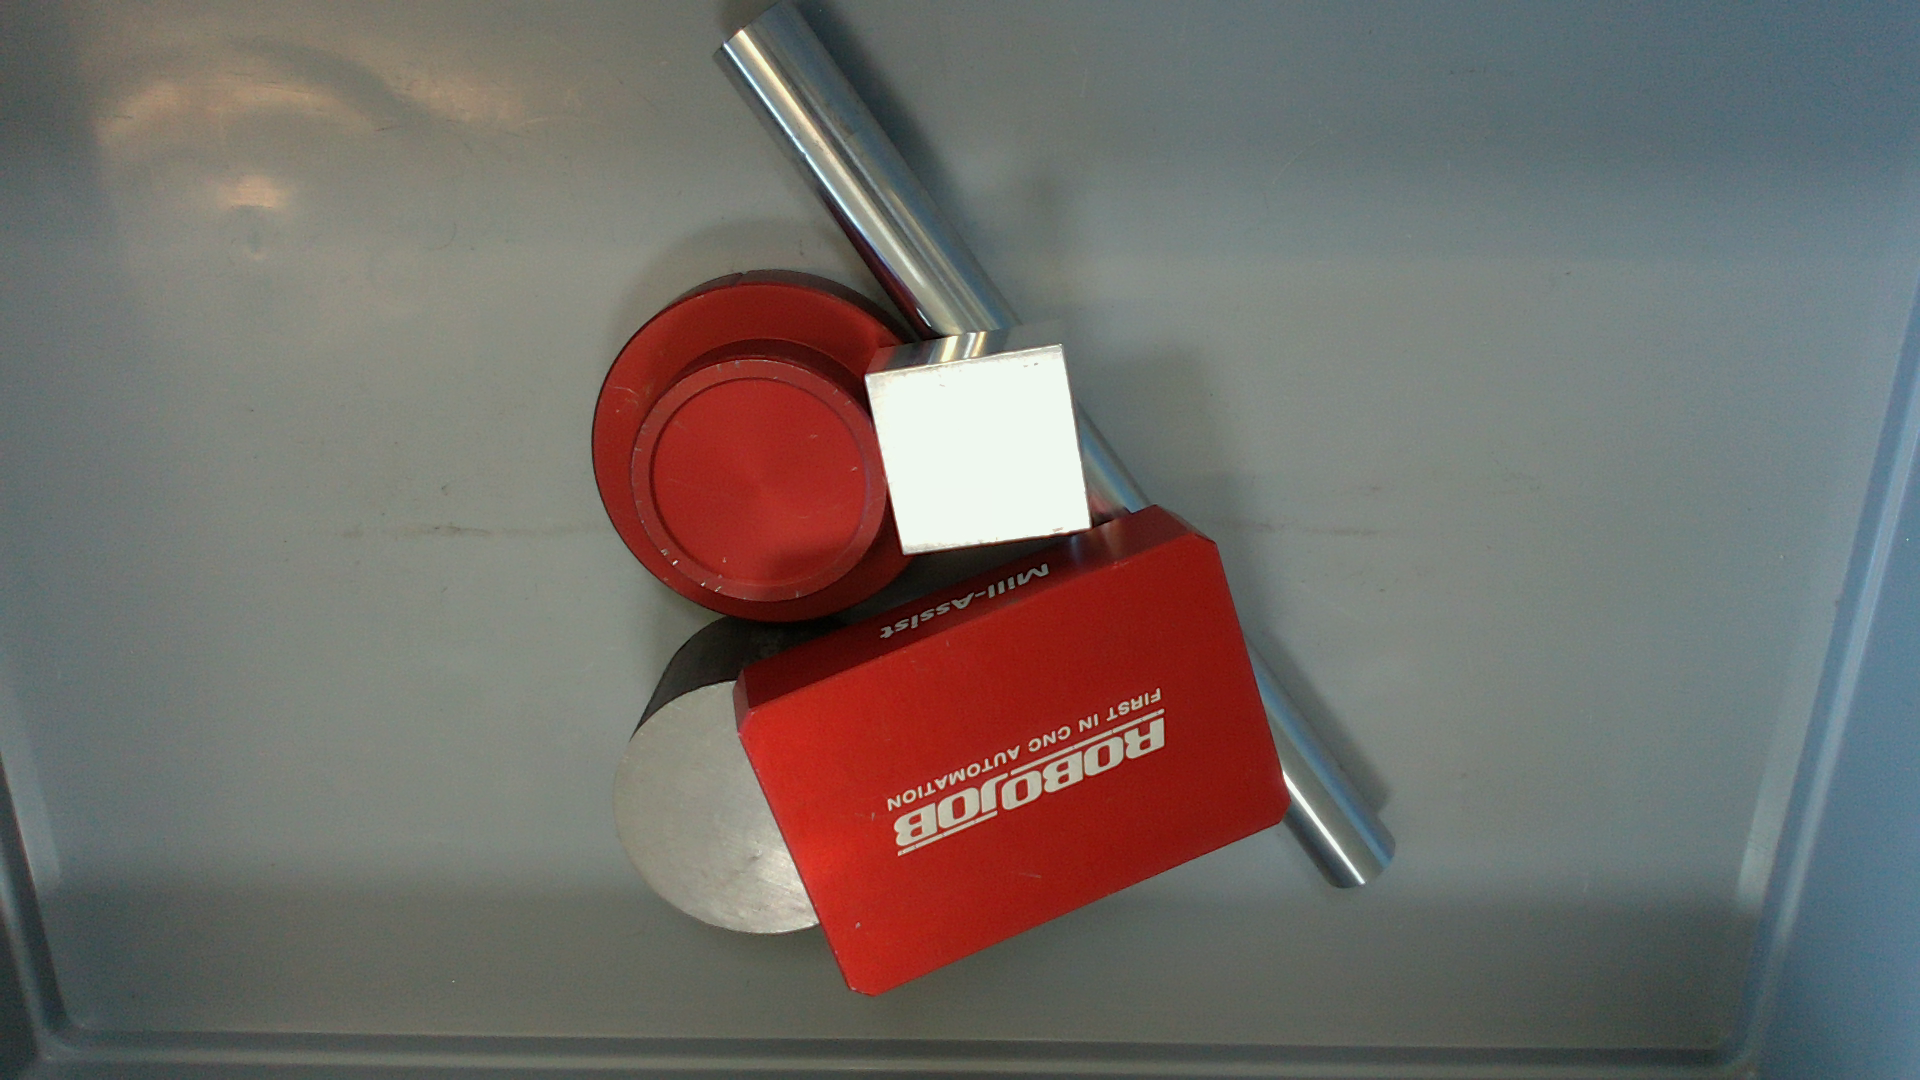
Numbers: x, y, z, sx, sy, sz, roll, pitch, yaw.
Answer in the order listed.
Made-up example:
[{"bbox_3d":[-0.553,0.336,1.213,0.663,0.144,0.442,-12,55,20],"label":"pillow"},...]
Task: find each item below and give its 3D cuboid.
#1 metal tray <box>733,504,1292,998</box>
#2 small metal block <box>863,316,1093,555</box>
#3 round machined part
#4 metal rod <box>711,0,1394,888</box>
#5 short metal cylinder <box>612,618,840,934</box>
[{"bbox_3d":[0.015,0.056,0.370,0.130,0.030,0.090,-22,110,-6],"label":"metal tray"},{"bbox_3d":[0.006,-0.027,0.358,0.050,0.025,0.050,-8,113,8],"label":"small metal block"},{"bbox_3d":[-0.052,-0.022,0.374,0.098,0.042,0.098,0,110,1],"label":"round machined part"},{"bbox_3d":[0.036,-0.015,0.388,0.025,0.025,0.300,-34,107,12],"label":"metal rod"},{"bbox_3d":[-0.056,0.067,0.403,0.080,0.050,0.080,0,110,0],"label":"short metal cylinder"}]
